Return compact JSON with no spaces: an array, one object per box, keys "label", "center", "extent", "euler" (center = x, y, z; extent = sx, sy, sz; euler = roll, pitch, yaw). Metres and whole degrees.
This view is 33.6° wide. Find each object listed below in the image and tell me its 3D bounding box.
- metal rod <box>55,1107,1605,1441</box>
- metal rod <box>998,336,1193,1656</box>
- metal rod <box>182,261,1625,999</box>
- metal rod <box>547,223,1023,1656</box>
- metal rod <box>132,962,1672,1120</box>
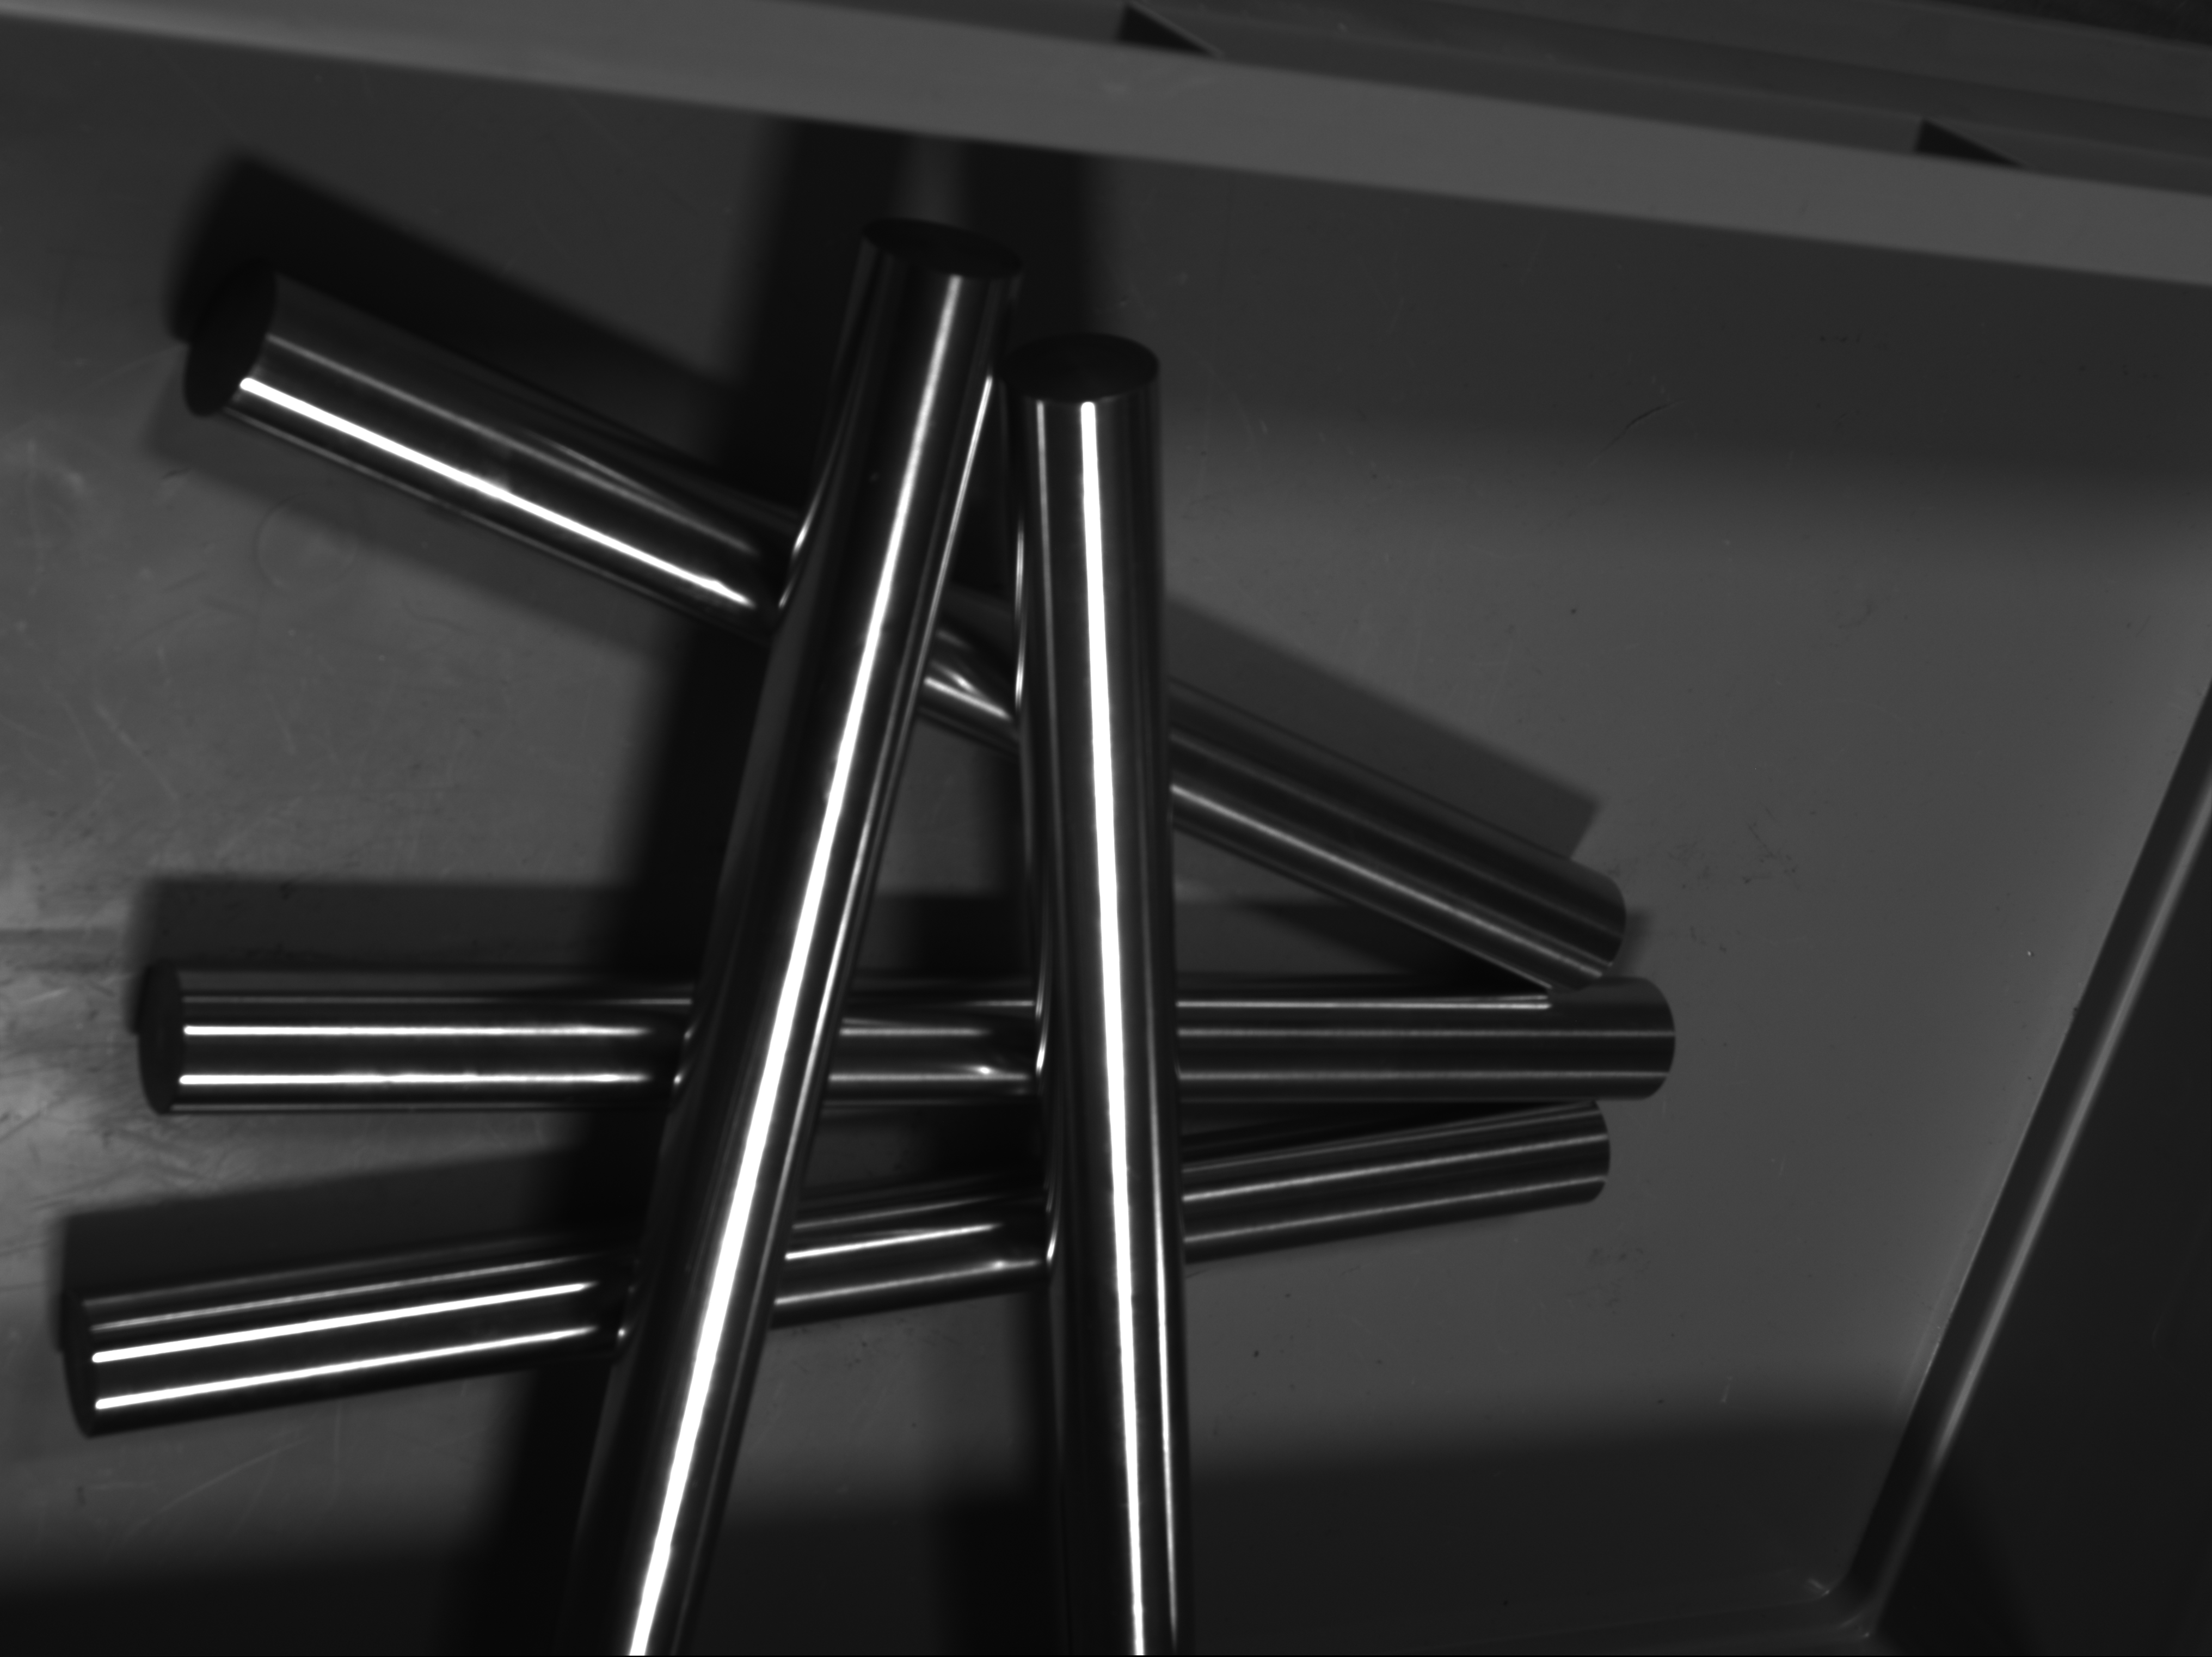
[{"label":"metal rod","center":[-0.038,0.077,0.675],"extent":[0.301,0.025,0.025],"euler":[-5,121,-28]},{"label":"metal rod","center":[0.000,0.055,0.651],"extent":[0.025,0.025,0.300],"euler":[-17,125,-21]},{"label":"metal rod","center":[-0.018,-0.025,0.623],"extent":[0.301,0.025,0.025],"euler":[23,105,-38]},{"label":"metal rod","center":[-0.060,0.046,0.609],"extent":[0.025,0.025,0.300],"euler":[0,118,-30]},{"label":"metal rod","center":[-0.023,0.039,0.659],"extent":[0.301,0.025,0.025],"euler":[2,117,-31]}]
